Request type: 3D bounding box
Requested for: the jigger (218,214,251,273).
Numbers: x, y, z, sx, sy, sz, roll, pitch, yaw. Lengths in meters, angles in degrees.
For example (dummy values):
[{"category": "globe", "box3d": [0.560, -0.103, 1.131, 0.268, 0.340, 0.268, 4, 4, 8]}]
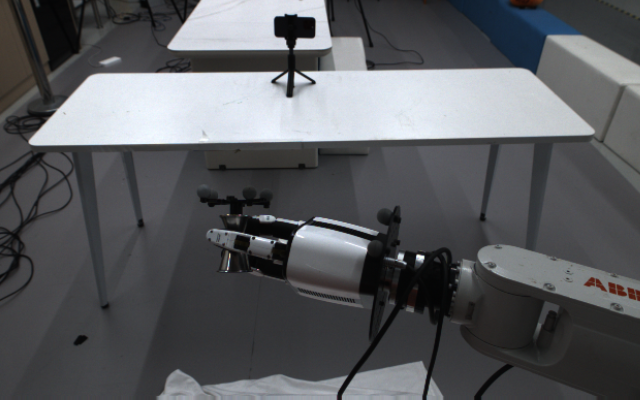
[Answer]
[{"category": "jigger", "box3d": [-0.103, 0.053, 0.588, 0.043, 0.071, 0.043, 1, -5, 0]}]
